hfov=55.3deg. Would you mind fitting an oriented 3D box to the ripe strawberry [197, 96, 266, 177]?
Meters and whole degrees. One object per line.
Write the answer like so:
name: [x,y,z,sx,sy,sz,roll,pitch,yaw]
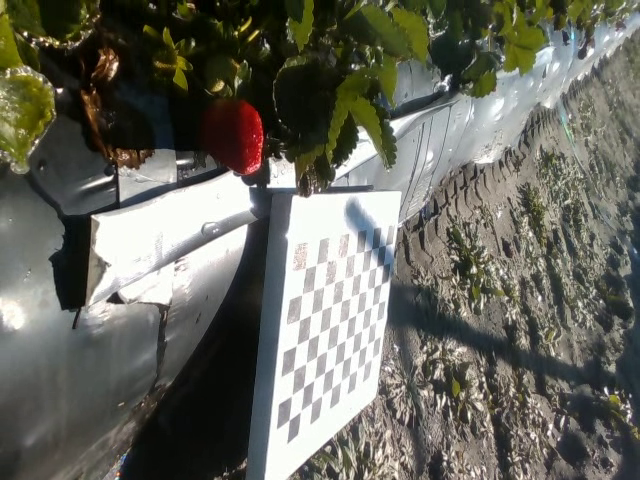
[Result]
ripe strawberry: [-0.059,-0.069,0.454,0.057,0.065,0.062,-29,-31,2]
